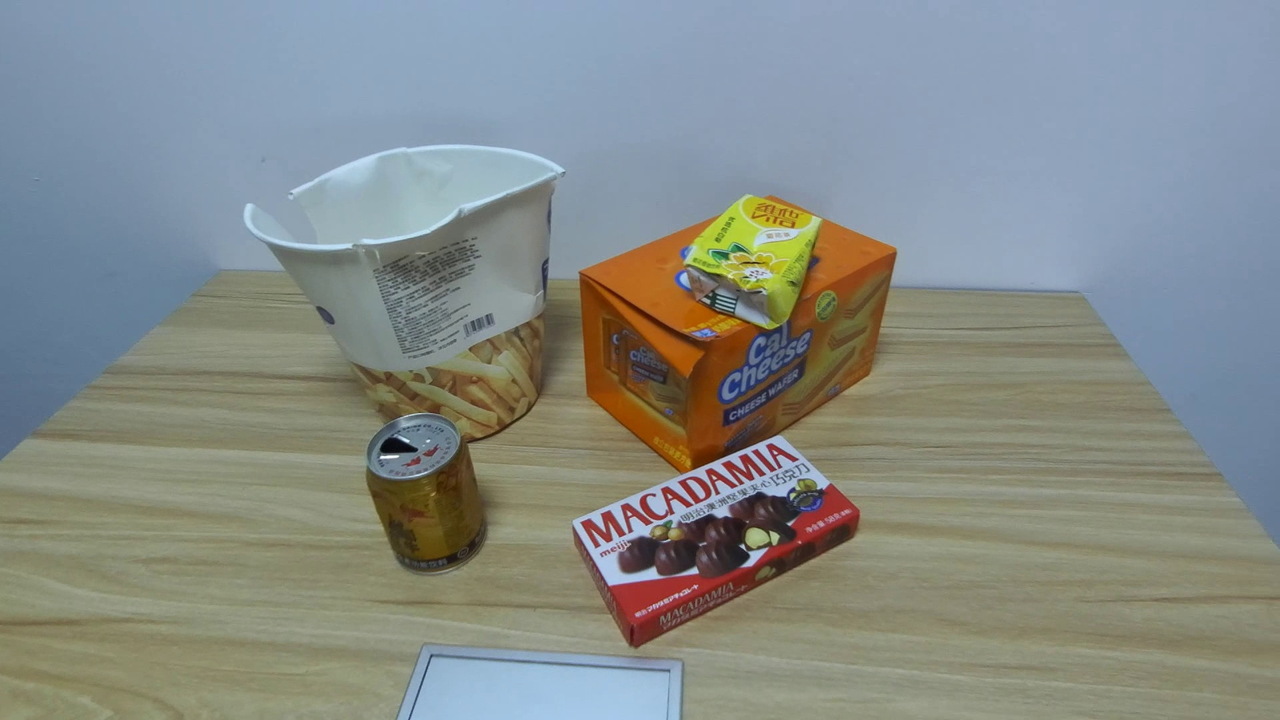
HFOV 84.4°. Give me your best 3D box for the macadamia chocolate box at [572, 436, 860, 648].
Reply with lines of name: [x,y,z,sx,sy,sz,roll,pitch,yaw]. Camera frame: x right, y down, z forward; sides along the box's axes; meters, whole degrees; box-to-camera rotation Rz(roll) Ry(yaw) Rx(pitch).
macadamia chocolate box: [0.052,0.116,0.486,0.178,0.027,0.095,-19,39,-21]

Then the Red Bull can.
Red Bull can: [-0.142,0.090,0.476,0.068,0.093,0.068,-2,36,2]

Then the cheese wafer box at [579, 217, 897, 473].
cheese wafer box: [0.081,-0.030,0.591,0.228,0.137,0.149,-26,43,-30]

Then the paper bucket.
paper bucket: [-0.167,-0.051,0.575,0.145,0.197,0.203,24,43,32]

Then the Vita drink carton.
Vita drink carton: [0.083,-0.071,0.510,0.087,0.042,0.108,24,46,18]
